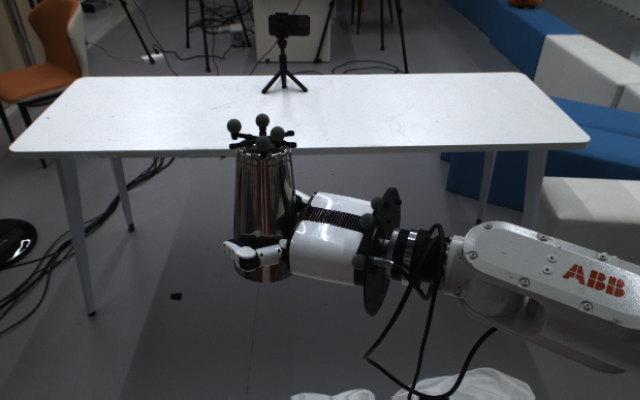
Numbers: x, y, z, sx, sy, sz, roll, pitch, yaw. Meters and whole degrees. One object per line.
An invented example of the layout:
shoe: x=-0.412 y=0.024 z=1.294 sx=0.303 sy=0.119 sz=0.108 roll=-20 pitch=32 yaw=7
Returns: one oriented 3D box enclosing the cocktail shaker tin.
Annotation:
cocktail shaker tin: x=-0.069 y=0.010 z=0.623 sx=0.093 sy=0.170 sz=0.093 roll=1 pitch=28 yaw=-1
